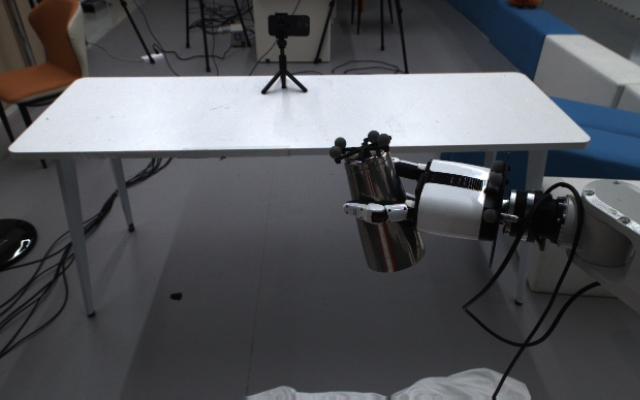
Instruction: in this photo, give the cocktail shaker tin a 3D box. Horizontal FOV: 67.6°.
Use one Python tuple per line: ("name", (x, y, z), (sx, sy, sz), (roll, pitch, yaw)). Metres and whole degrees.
("cocktail shaker tin", (0.091, 0.010, 0.711), (0.093, 0.170, 0.093), (-17, 21, 7))
